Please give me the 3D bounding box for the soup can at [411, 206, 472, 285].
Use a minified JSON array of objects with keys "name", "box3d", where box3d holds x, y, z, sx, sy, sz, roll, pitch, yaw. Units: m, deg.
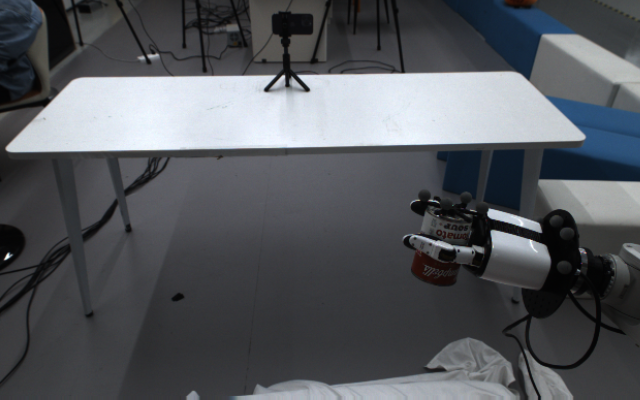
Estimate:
[{"name":"soup can","box3d":[0.176,0.063,0.697,0.067,0.101,0.067,9,19,-3]}]
